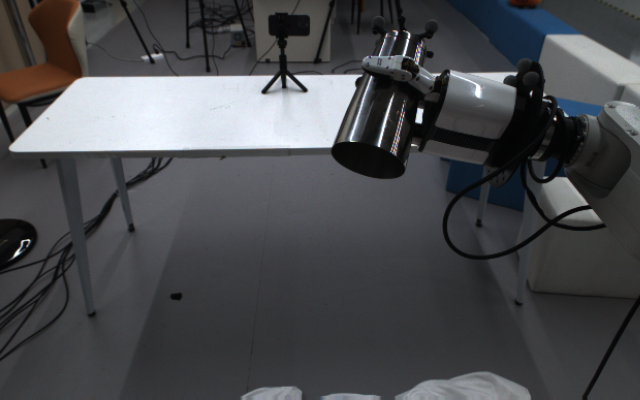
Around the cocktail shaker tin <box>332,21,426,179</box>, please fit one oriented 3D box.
[{"bbox_3d":[0.081,-0.124,0.602,0.093,0.093,0.170,13,70,15],"label":"cocktail shaker tin"}]
